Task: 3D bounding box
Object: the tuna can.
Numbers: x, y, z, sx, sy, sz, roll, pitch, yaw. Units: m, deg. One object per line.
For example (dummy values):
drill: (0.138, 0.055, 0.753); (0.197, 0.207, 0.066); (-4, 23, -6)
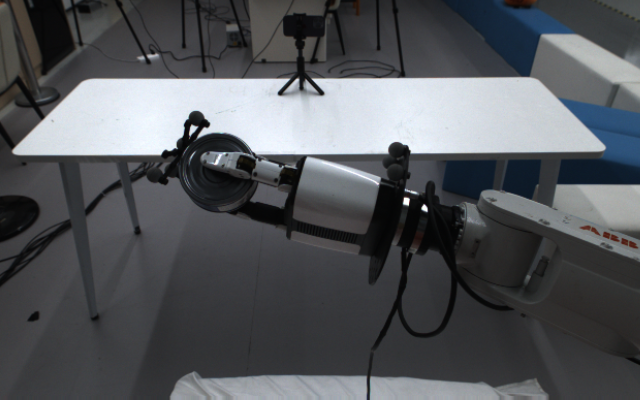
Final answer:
tuna can: (-0.108, -0.027, 0.537); (0.085, 0.034, 0.085); (1, 77, -5)
